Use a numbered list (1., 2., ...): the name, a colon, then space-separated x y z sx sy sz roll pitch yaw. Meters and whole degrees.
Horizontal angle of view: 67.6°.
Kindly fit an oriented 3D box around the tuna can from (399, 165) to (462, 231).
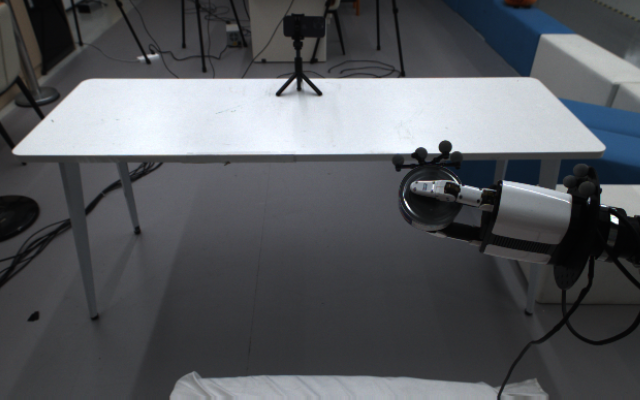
1. tuna can: 0.149 -0.004 0.653 0.085 0.034 0.085 -2 68 6
